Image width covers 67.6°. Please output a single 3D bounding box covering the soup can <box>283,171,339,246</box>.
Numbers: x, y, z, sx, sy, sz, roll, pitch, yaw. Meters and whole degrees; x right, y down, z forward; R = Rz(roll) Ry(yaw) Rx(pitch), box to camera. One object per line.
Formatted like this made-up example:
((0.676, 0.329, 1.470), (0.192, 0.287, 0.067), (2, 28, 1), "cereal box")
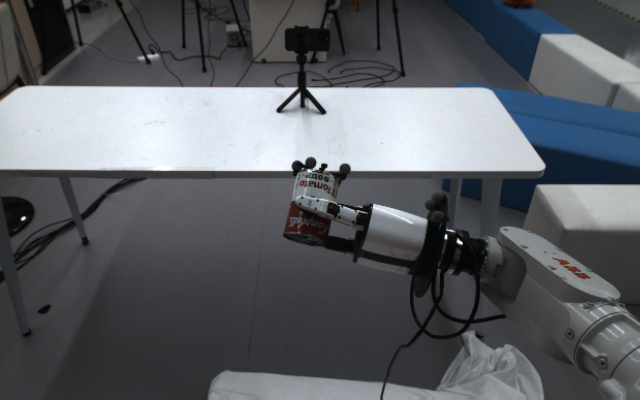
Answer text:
((-0.011, 0.012, 0.729), (0.067, 0.067, 0.101), (9, 74, 9), "soup can")
